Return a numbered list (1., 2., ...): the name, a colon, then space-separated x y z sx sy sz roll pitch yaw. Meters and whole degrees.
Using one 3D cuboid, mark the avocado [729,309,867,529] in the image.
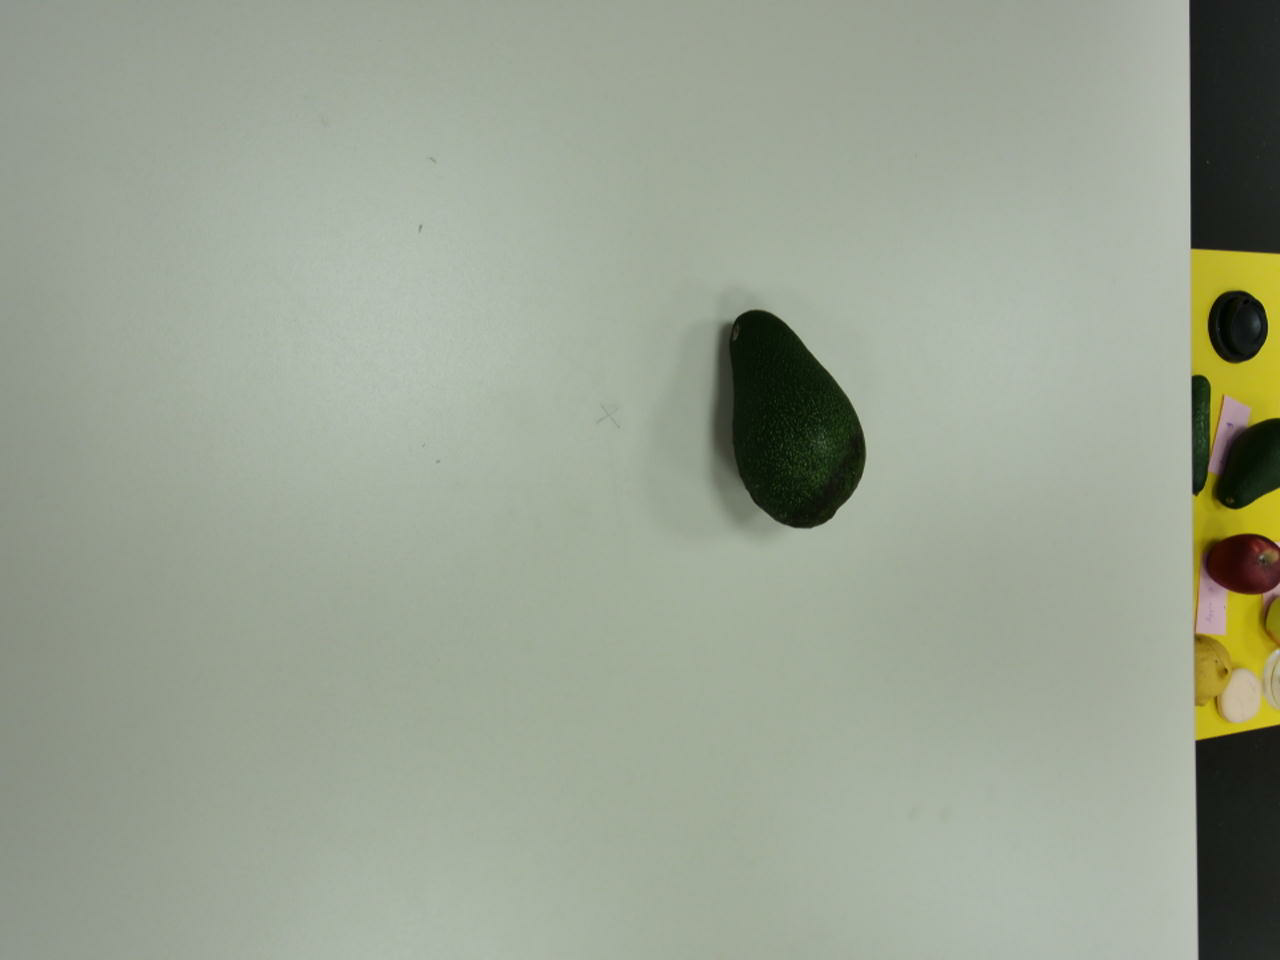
1. avocado: 0.091 -0.034 0.562 0.074 0.076 0.123 6 88 -22
